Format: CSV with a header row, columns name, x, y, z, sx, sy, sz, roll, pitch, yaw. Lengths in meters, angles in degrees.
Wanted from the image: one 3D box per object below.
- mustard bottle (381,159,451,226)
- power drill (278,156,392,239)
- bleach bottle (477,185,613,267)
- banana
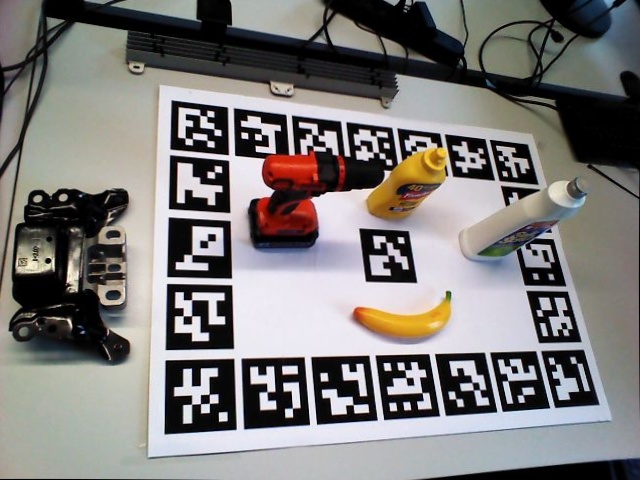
name,x,y,z,sx,sy,sz,roll,pitch,yaw
mustard bottle,0.186,-0.084,0.879,0.096,0.193,0.058,-4,70,-22
power drill,0.018,-0.062,0.780,0.184,0.188,0.057,-4,70,-16
bleach bottle,0.382,-0.026,0.884,0.102,0.252,0.067,11,66,-14
banana,0.176,0.138,0.861,0.197,0.039,0.074,-3,72,-16
